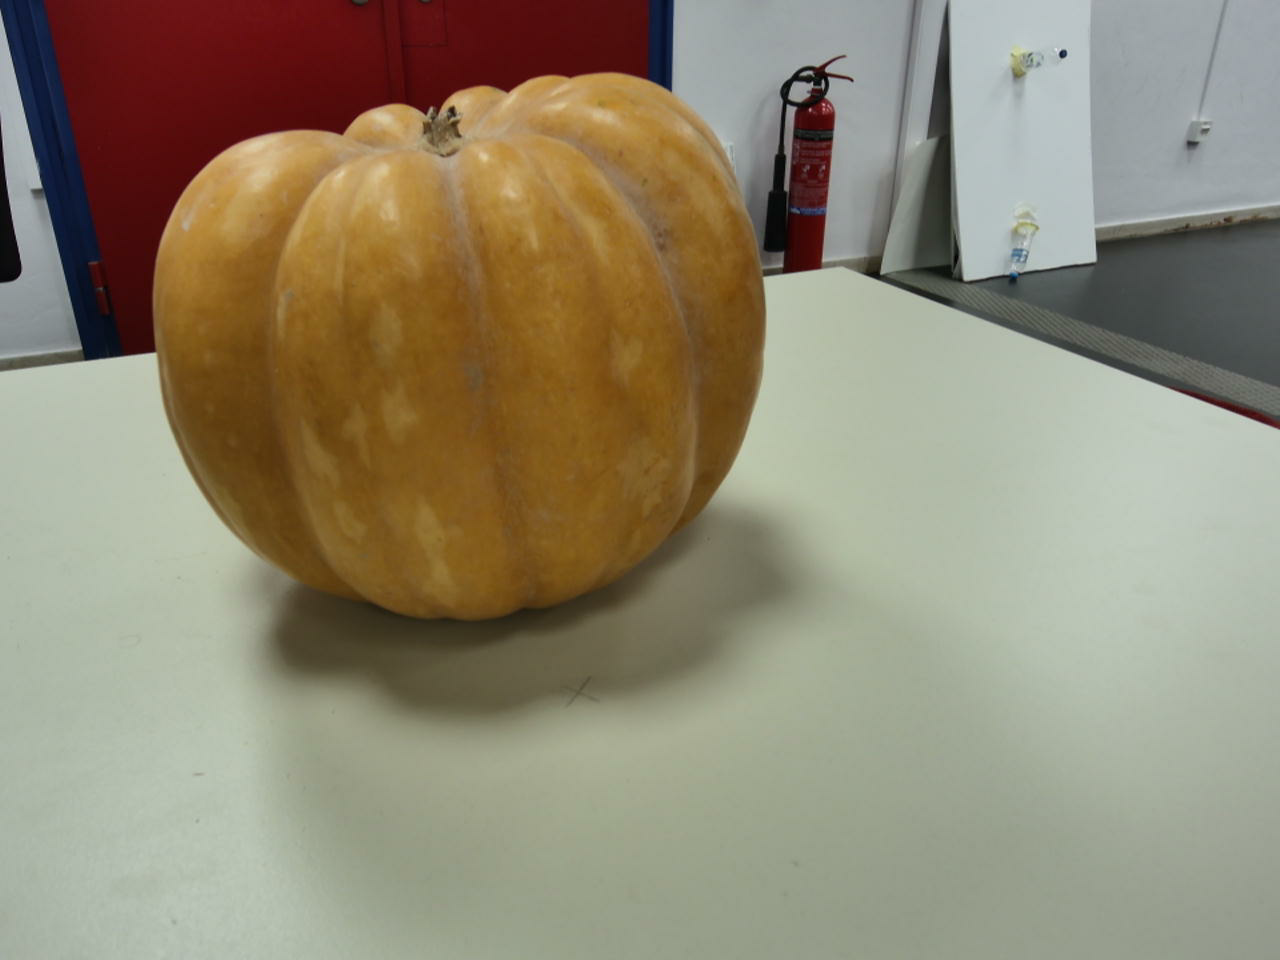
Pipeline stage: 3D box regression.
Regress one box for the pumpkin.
[{"bbox_3d":[-0.061,-0.053,0.389,0.230,0.194,0.230,0,25,0],"label":"pumpkin"}]
